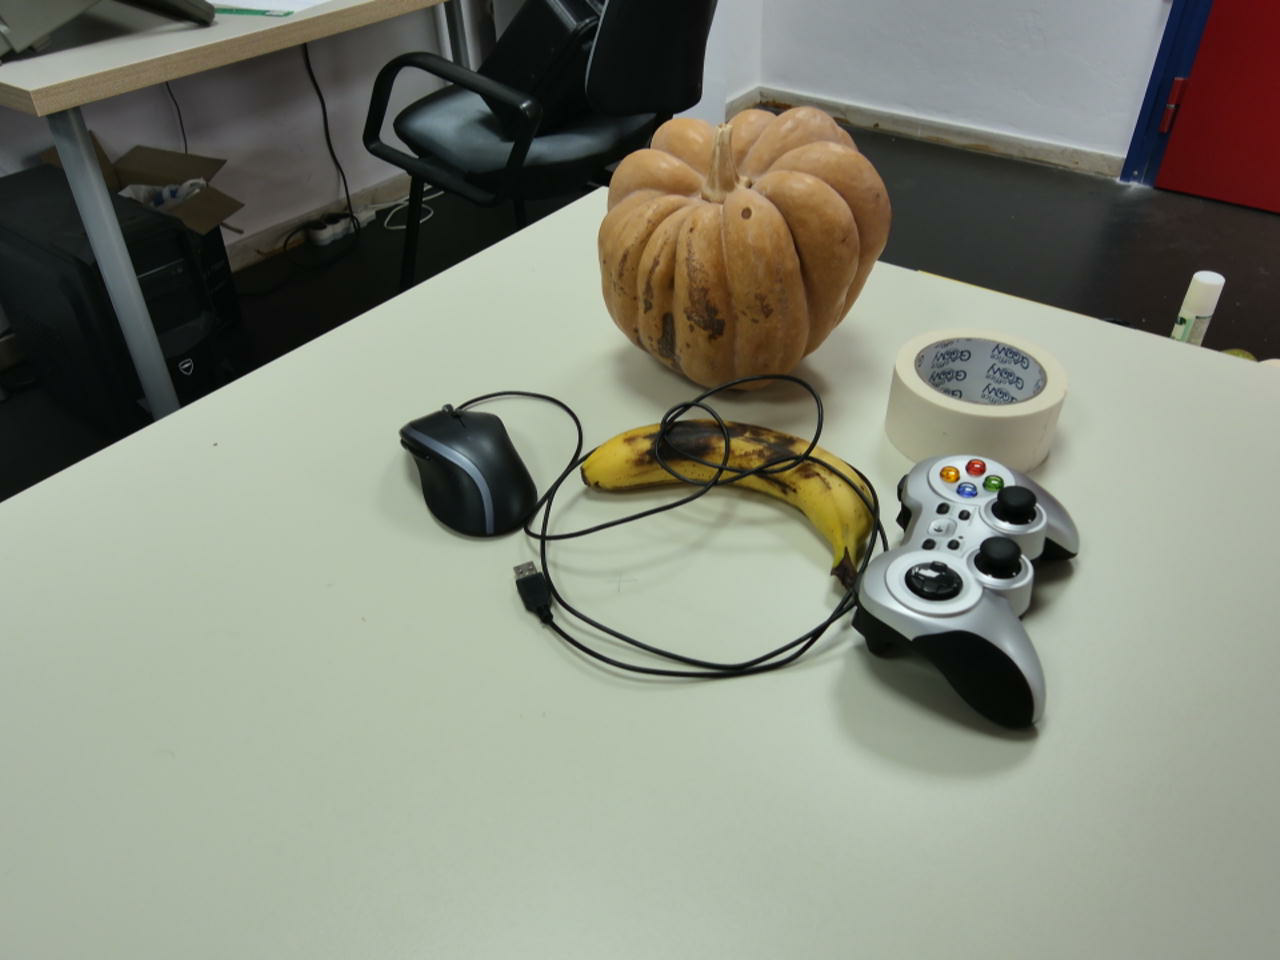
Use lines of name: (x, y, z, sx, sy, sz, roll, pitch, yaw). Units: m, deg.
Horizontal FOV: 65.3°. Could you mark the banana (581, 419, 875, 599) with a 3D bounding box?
banana: (0.063, 0.001, 0.597, 0.187, 0.039, 0.094, 23, 43, 28)
